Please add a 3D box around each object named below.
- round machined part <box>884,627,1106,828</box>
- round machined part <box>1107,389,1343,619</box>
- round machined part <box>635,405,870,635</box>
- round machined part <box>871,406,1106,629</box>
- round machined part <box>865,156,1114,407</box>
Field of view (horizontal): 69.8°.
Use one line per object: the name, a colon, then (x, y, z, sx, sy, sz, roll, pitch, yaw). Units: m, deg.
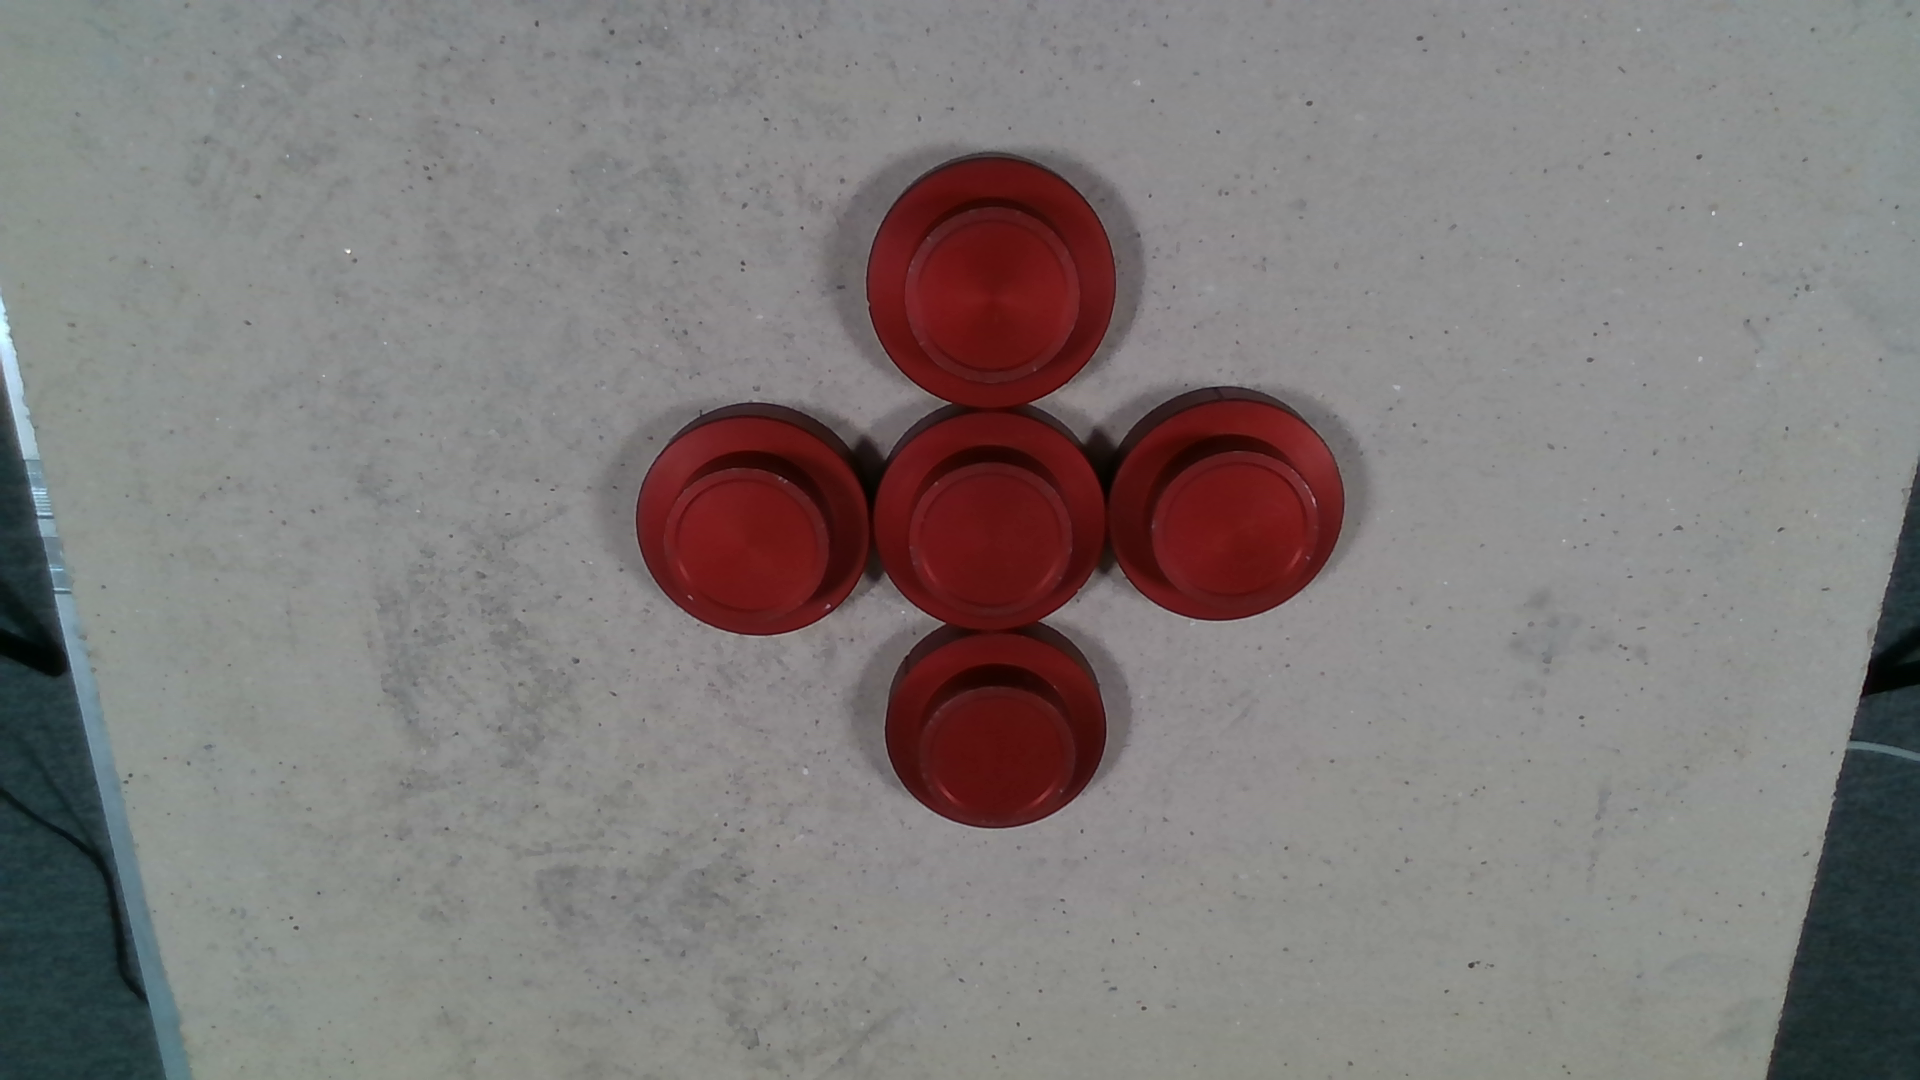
round machined part: (0.015, 0.085, 0.607, 0.098, 0.042, 0.098, 0, 110, 0)
round machined part: (0.110, -0.011, 0.572, 0.098, 0.042, 0.098, 0, 110, 0)
round machined part: (-0.087, -0.005, 0.574, 0.098, 0.042, 0.098, 0, 110, 0)
round machined part: (0.012, -0.007, 0.573, 0.098, 0.042, 0.098, 0, 110, 0)
round machined part: (0.012, -0.099, 0.539, 0.098, 0.042, 0.098, 0, 110, 0)
